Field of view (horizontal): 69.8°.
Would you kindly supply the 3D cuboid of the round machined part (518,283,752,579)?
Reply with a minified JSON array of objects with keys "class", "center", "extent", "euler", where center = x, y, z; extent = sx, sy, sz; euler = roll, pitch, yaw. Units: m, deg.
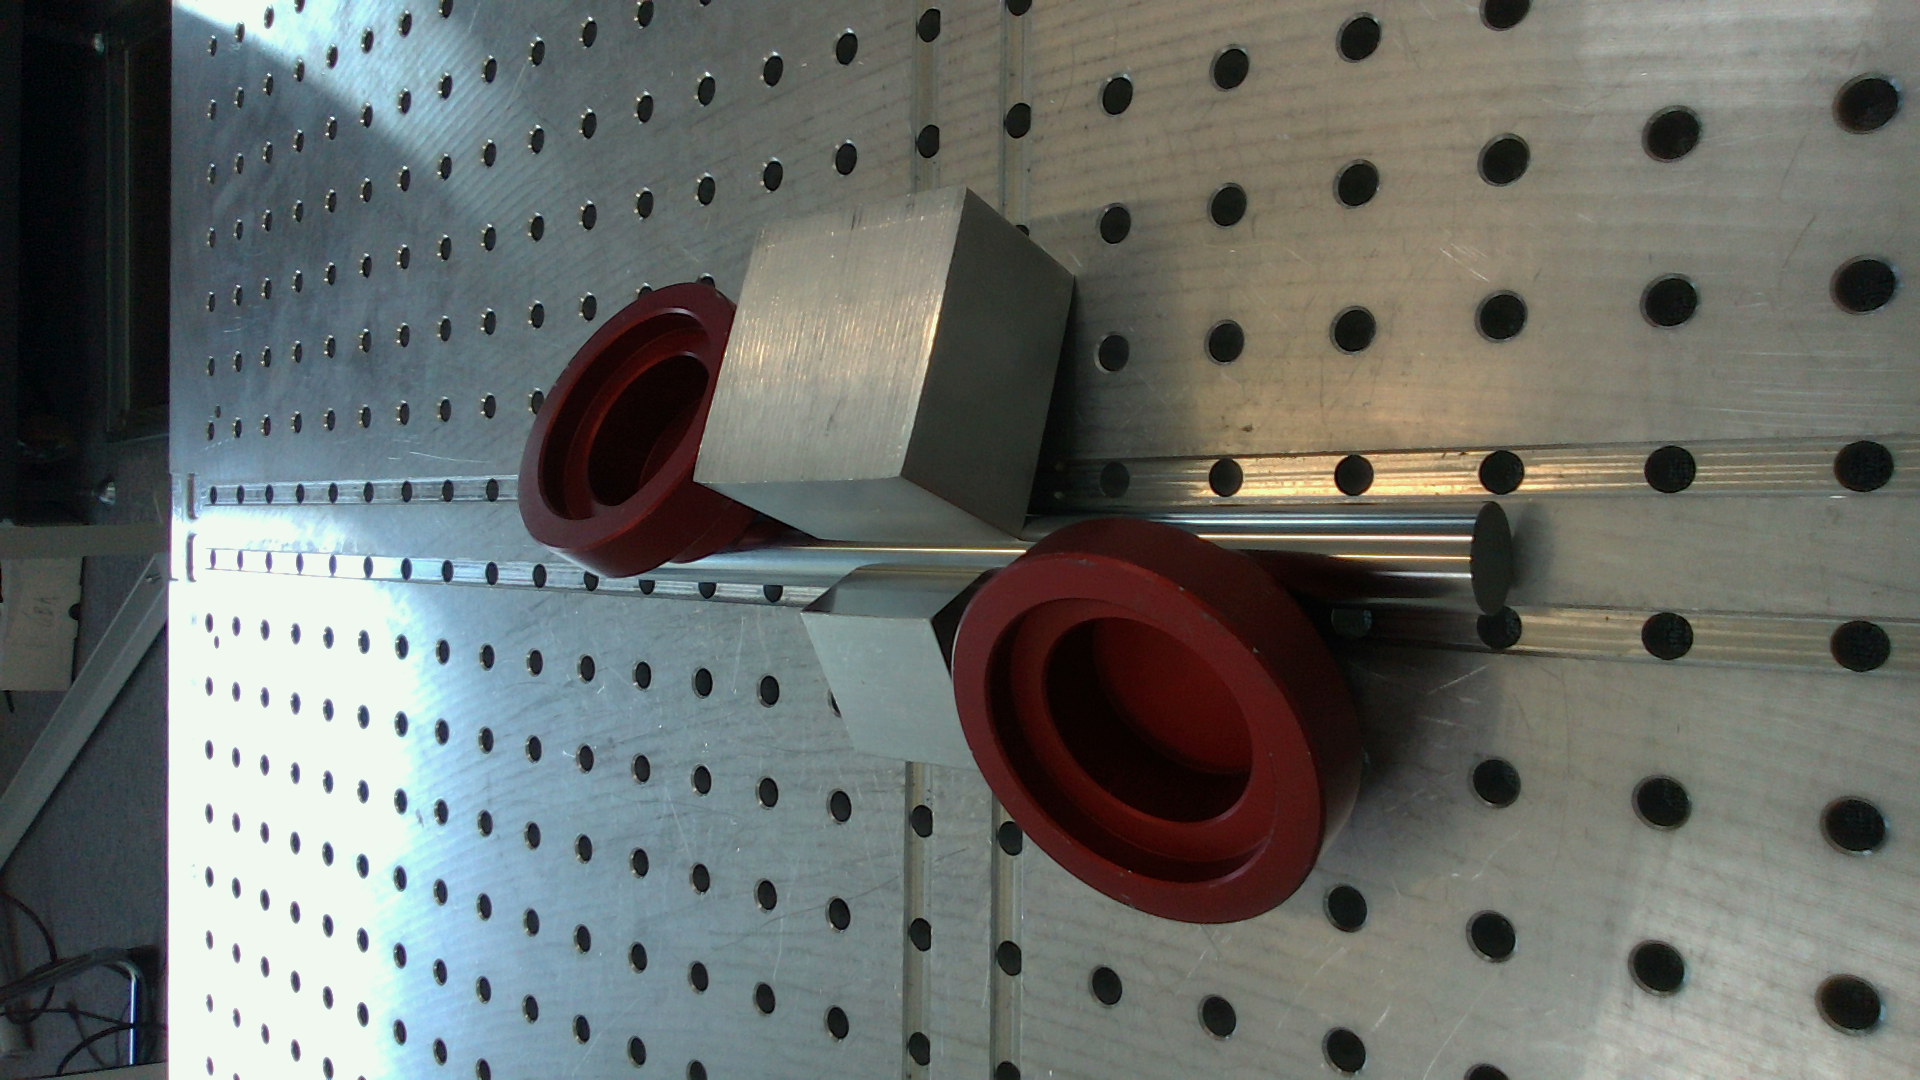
[{"class":"round machined part","center":[-0.095,-0.032,0.450],"extent":[0.098,0.042,0.098],"euler":[-21,52,29]}]

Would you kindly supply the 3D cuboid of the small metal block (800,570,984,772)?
[{"class":"small metal block","center":[-0.012,0.037,0.395],"extent":[0.050,0.025,0.050],"euler":[1,119,40]}]

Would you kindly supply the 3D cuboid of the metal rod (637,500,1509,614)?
[{"class":"metal rod","center":[0.002,0.003,0.397],"extent":[0.299,0.025,0.025],"euler":[1,90,40]}]

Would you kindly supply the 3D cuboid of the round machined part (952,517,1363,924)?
[{"class":"round machined part","center":[0.049,0.039,0.329],"extent":[0.098,0.042,0.098],"euler":[21,127,30]}]

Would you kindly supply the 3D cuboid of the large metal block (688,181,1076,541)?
[{"class":"large metal block","center":[-0.022,-0.046,0.385],"extent":[0.080,0.050,0.080],"euler":[1,72,40]}]
